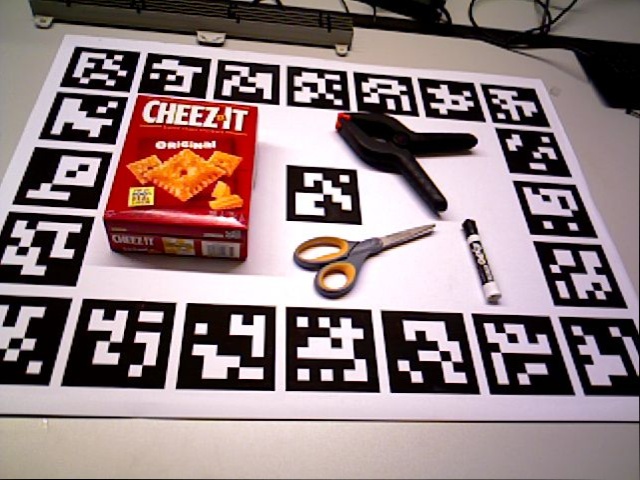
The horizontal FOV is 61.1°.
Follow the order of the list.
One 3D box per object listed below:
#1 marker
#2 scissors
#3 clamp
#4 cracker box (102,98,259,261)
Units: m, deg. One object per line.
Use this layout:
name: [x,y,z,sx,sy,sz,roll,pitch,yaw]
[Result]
marker: [0.207,0.023,0.688,0.019,0.020,0.119,0,53,-9]
scissors: [0.066,0.011,0.676,0.199,0.016,0.087,-21,58,-25]
clamp: [0.107,-0.131,0.796,0.202,0.037,0.161,27,53,11]
cracker box: [-0.163,-0.081,0.679,0.163,0.073,0.210,4,53,-6]
